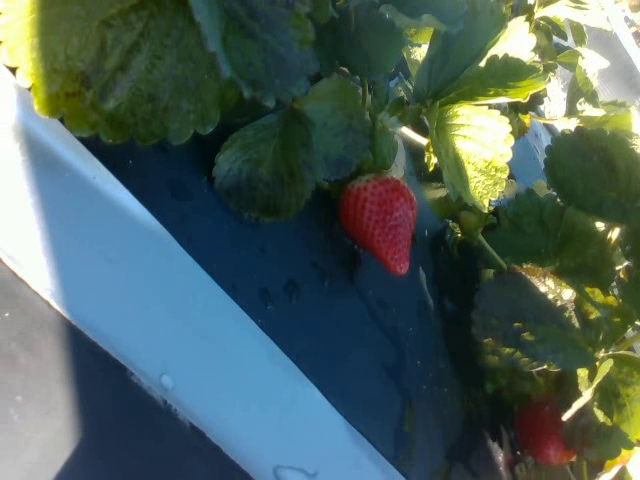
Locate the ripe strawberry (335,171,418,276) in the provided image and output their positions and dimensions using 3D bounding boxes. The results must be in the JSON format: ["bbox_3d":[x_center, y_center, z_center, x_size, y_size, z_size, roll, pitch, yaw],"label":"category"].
[{"bbox_3d":[0.031,-0.007,0.281,0.045,0.059,0.042,-6,-14,-10],"label":"ripe strawberry"}]
